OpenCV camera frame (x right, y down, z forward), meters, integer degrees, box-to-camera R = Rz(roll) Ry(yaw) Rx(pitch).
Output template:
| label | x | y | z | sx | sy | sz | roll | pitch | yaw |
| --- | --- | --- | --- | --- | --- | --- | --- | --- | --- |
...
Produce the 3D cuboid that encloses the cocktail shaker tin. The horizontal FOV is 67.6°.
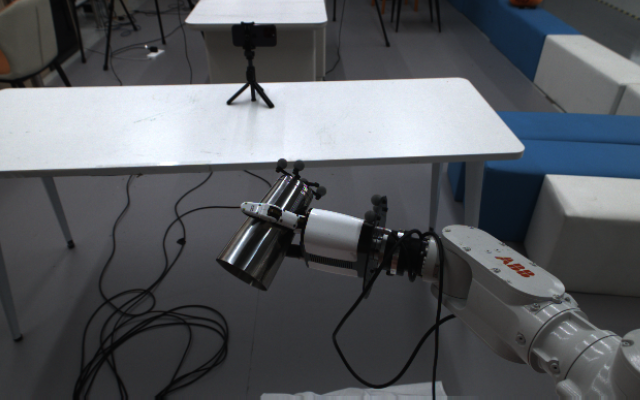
| label | x | y | z | sx | sy | sz | roll | pitch | yaw |
| --- | --- | --- | --- | --- | --- | --- | --- | --- | --- |
| cocktail shaker tin | -0.078 | 0.043 | 0.765 | 0.093 | 0.093 | 0.170 | 20 | 67 | 24 |
